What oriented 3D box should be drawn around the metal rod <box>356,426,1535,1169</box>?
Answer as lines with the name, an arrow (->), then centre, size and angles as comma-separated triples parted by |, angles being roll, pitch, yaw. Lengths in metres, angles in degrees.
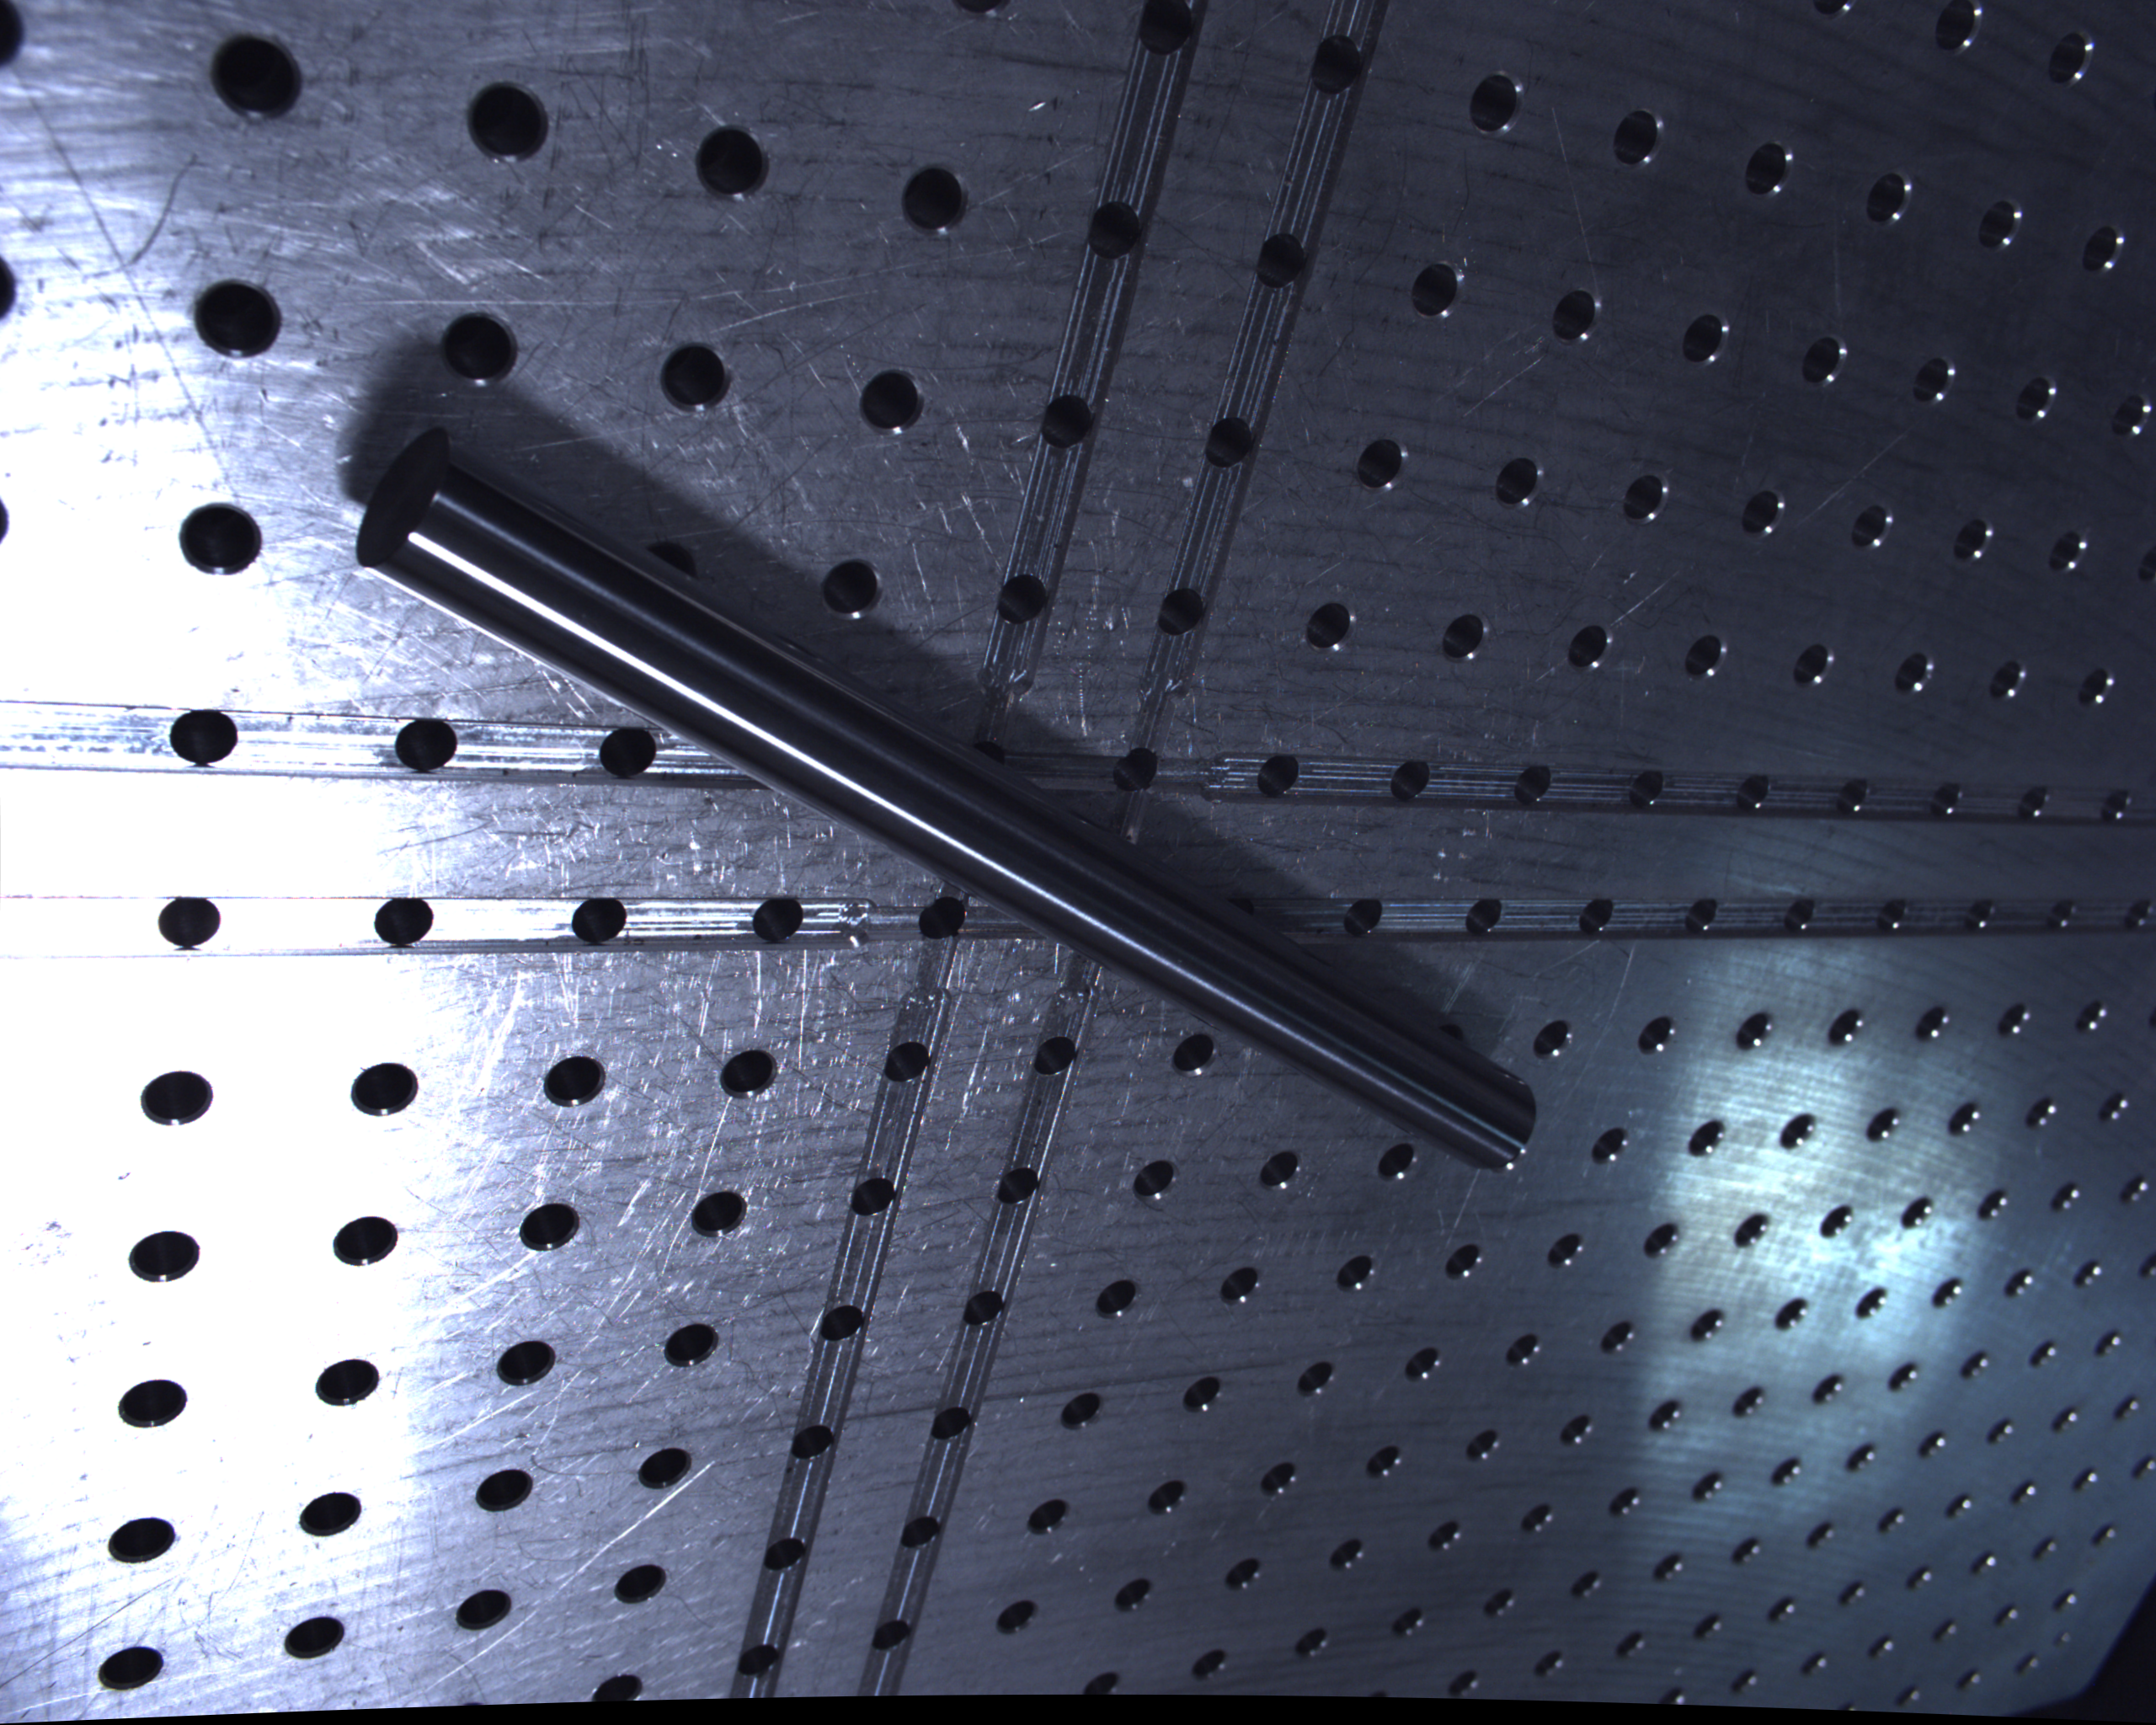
metal rod -> -0.002, 0.003, 0.414 | 0.301, 0.025, 0.025 | 30, 101, -38
